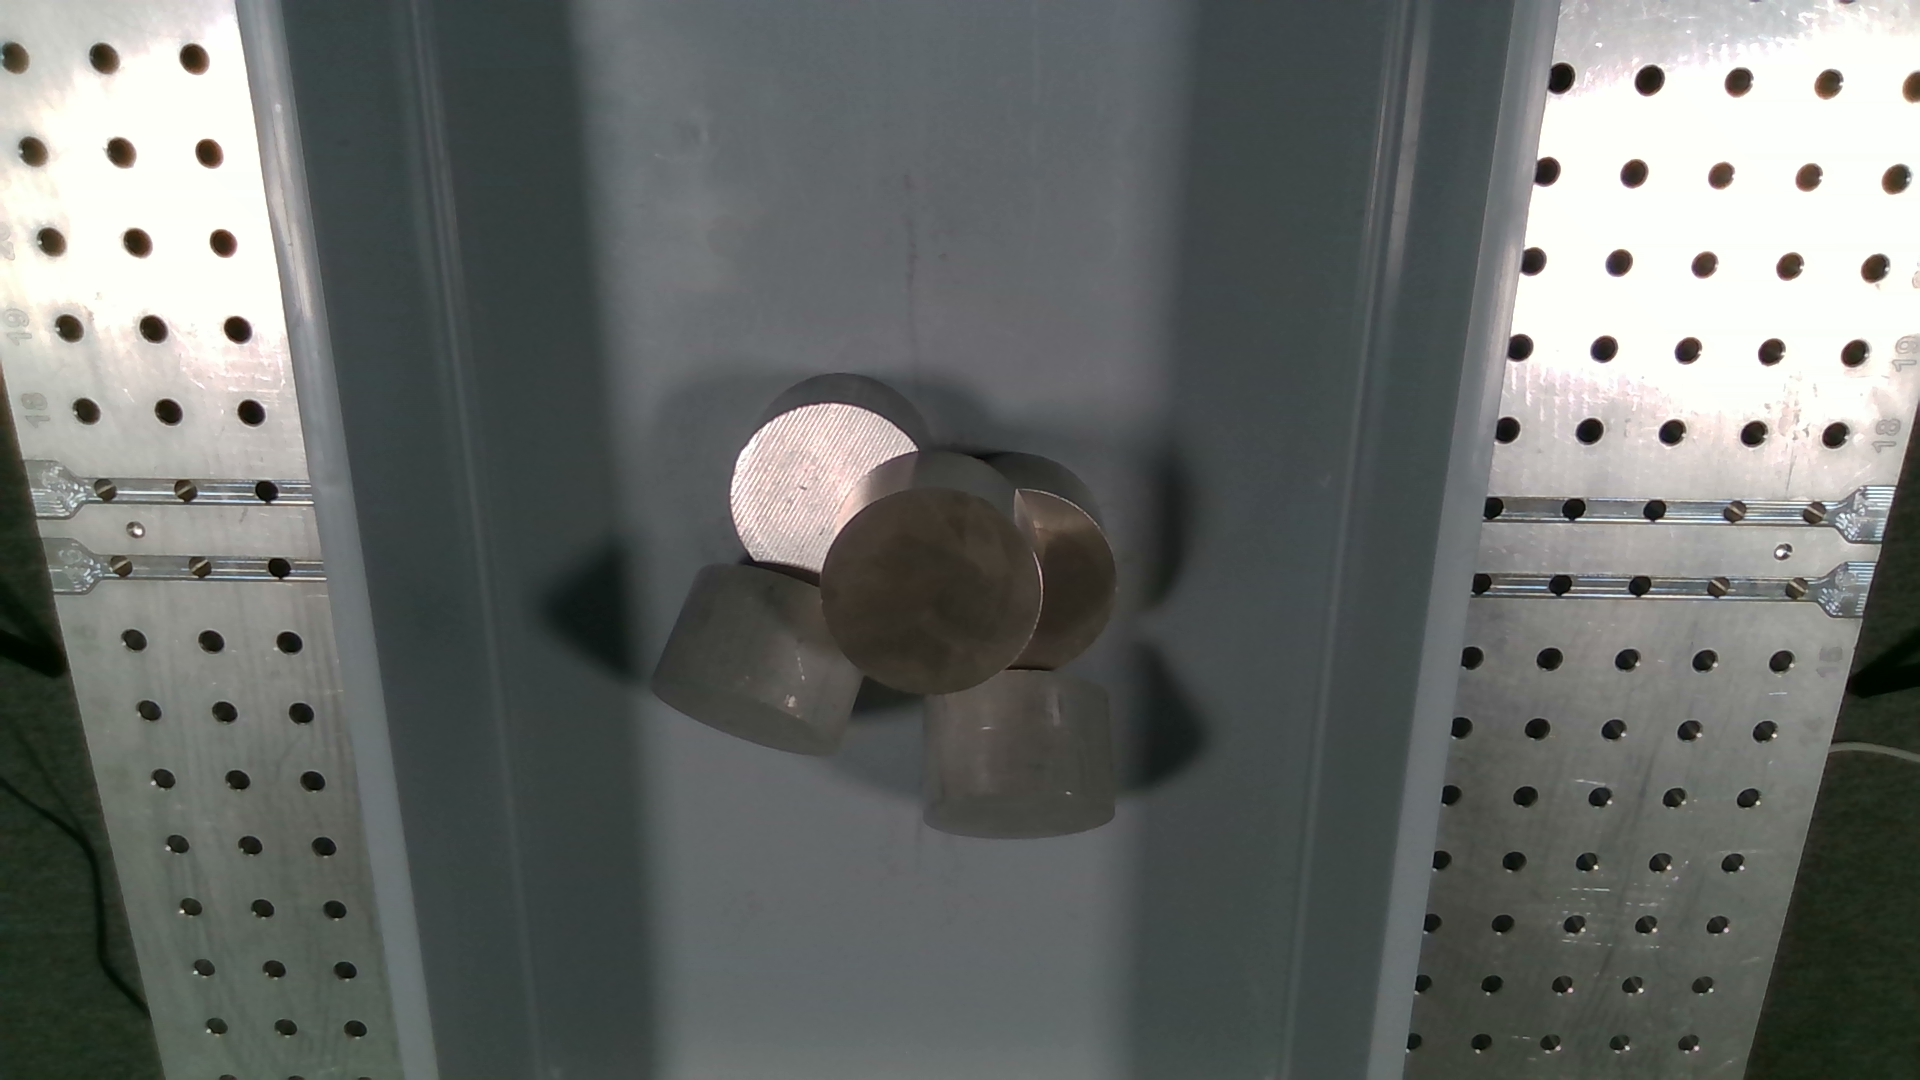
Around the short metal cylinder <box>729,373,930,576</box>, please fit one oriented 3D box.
[{"bbox_3d":[-0.050,-0.024,0.562,0.080,0.050,0.080,0,110,0],"label":"short metal cylinder"}]

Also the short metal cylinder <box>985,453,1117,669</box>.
[{"bbox_3d":[0.023,0.009,0.573,0.080,0.050,0.080,0,110,0],"label":"short metal cylinder"}]

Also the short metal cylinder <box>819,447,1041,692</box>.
[{"bbox_3d":[-0.011,0.010,0.519,0.080,0.050,0.080,0,110,0],"label":"short metal cylinder"}]

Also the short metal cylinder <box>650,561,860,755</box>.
[{"bbox_3d":[-0.080,0.049,0.565,0.080,0.080,0.050,22,68,-8],"label":"short metal cylinder"}]

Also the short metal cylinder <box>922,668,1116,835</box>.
[{"bbox_3d":[0.024,0.092,0.582,0.080,0.050,0.080,-1,154,-1],"label":"short metal cylinder"}]
